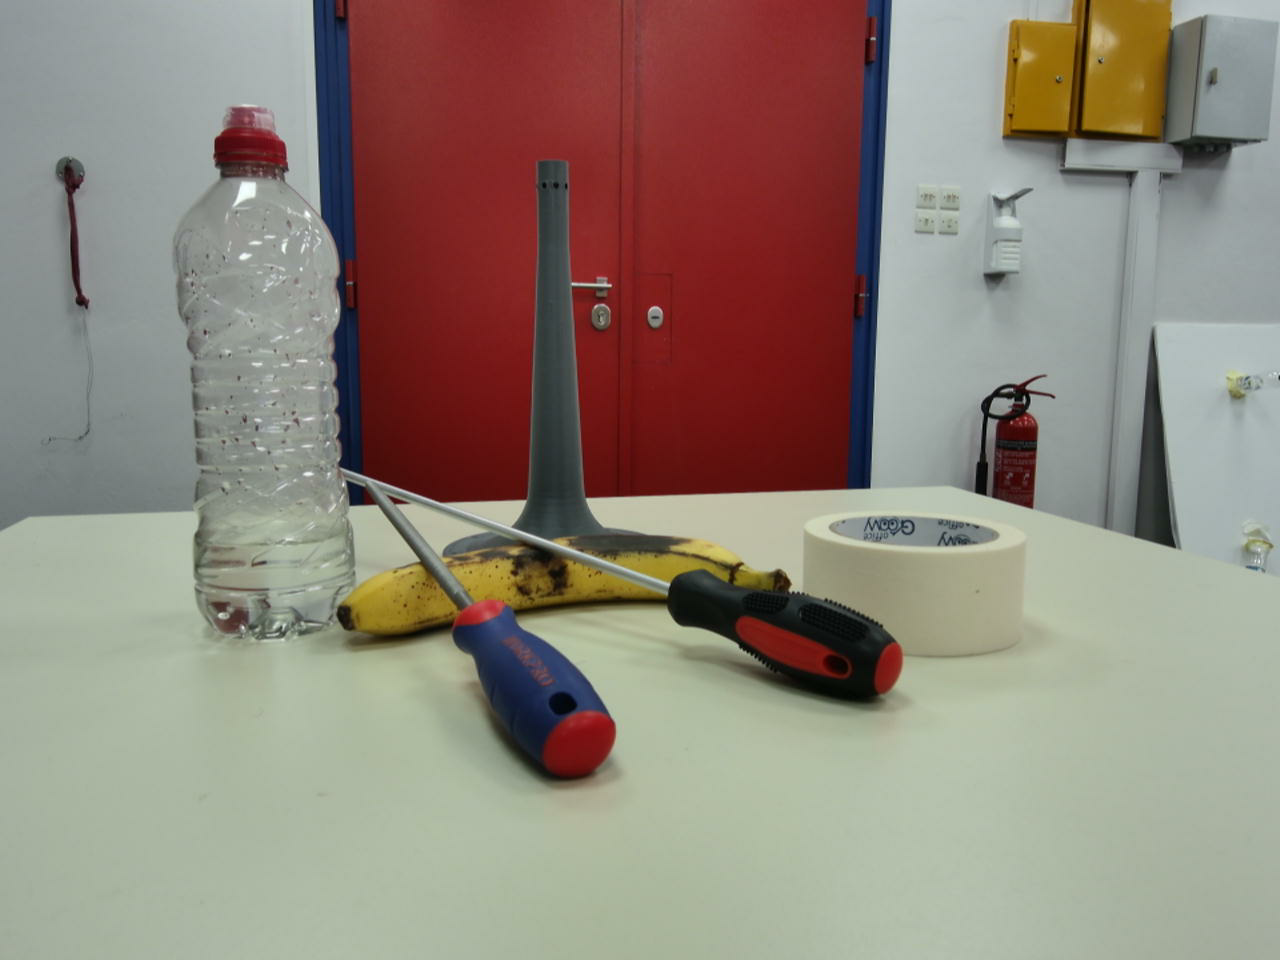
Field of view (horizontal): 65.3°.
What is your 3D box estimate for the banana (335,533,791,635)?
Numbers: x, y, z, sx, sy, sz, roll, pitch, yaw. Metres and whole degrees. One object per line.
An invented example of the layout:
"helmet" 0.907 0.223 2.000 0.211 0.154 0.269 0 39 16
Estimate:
"banana" -0.039 0.052 0.519 0.222 0.037 0.084 -1 7 -13
